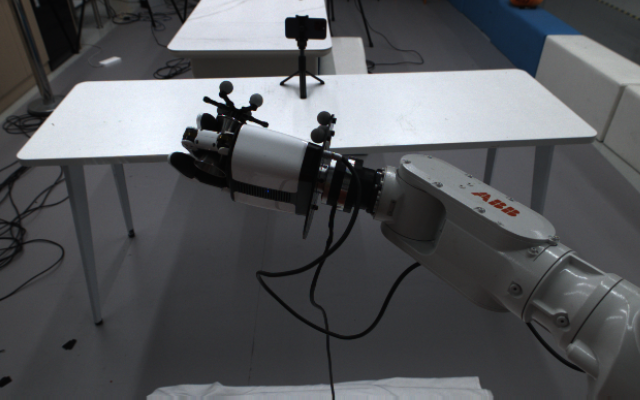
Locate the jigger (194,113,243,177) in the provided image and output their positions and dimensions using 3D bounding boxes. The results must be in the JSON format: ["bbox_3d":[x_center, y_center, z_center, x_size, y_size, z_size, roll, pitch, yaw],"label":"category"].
[{"bbox_3d":[-0.124,-0.070,0.609,0.043,0.043,0.071,15,70,18],"label":"jigger"}]
